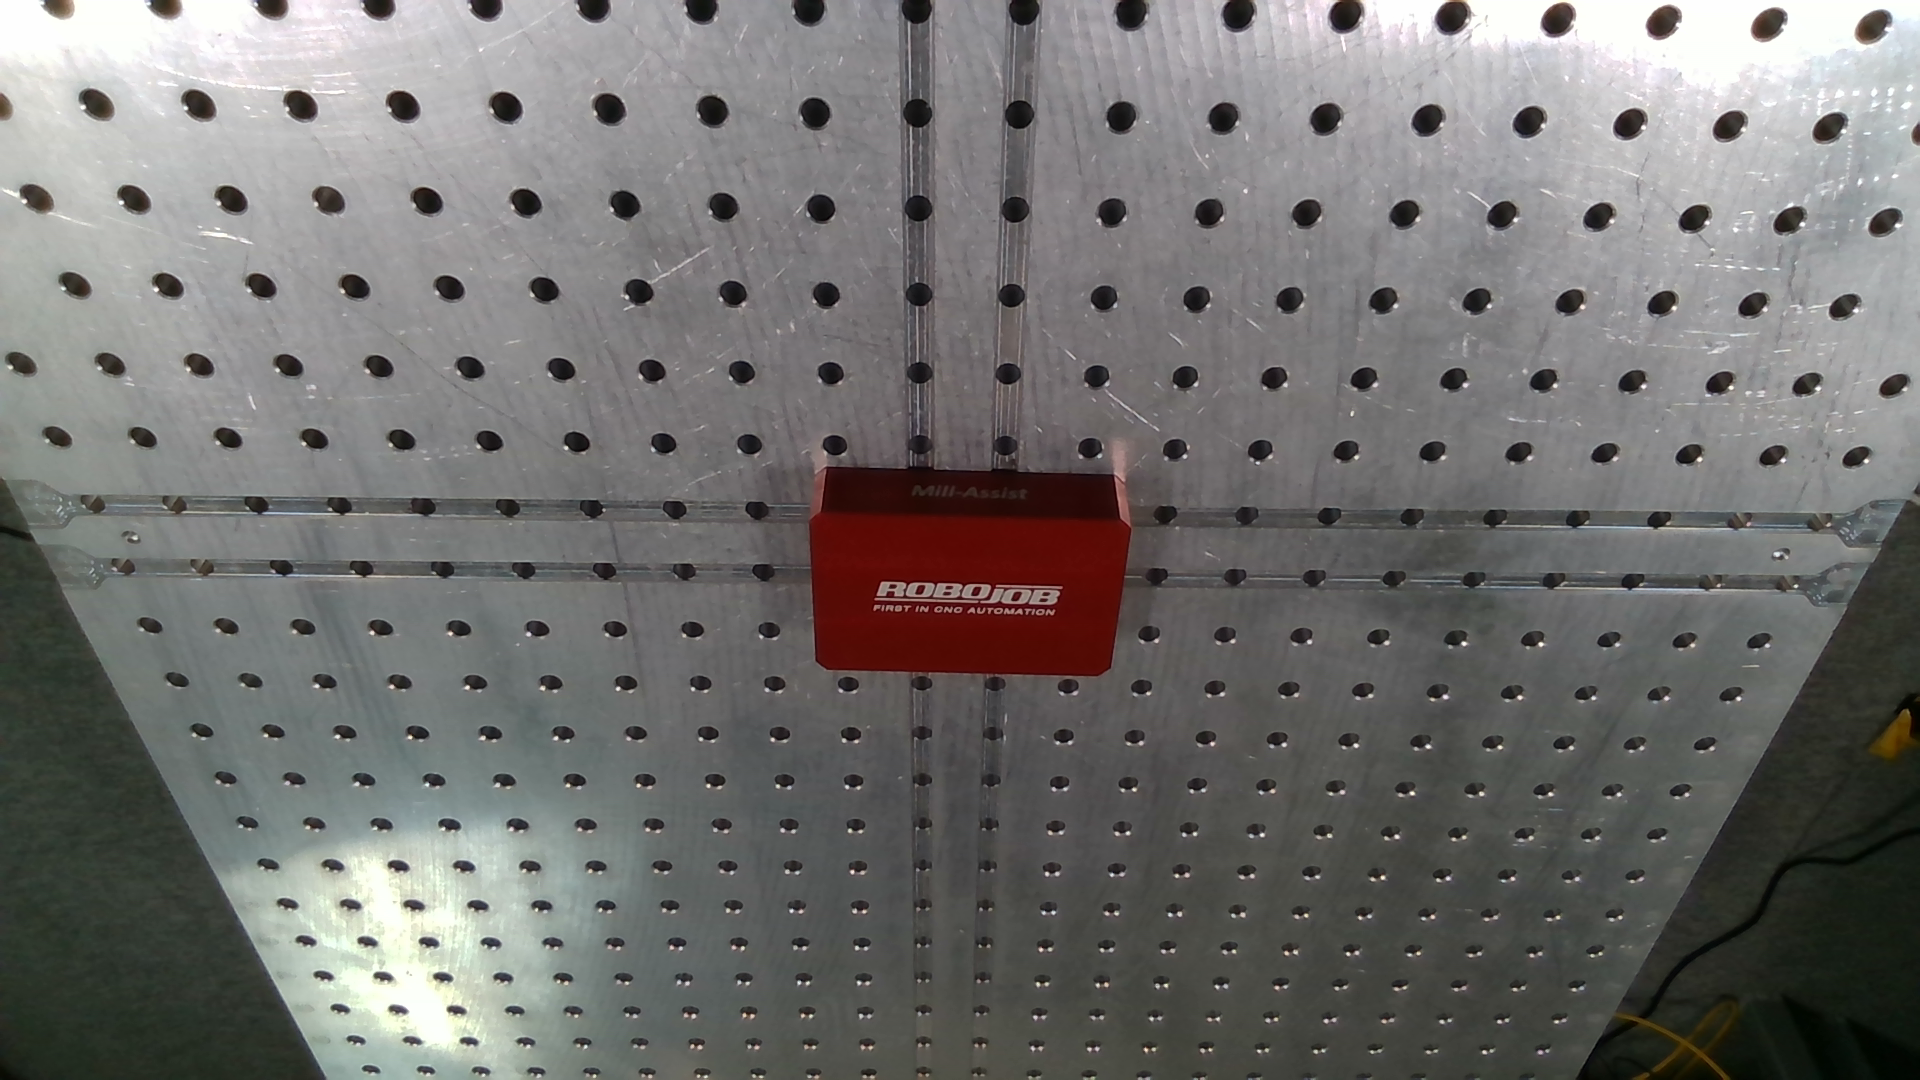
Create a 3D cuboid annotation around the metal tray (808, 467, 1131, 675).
[{"bbox_3d":[0.003,0.015,0.590,0.130,0.030,0.090,2,130,-1],"label":"metal tray"}]
